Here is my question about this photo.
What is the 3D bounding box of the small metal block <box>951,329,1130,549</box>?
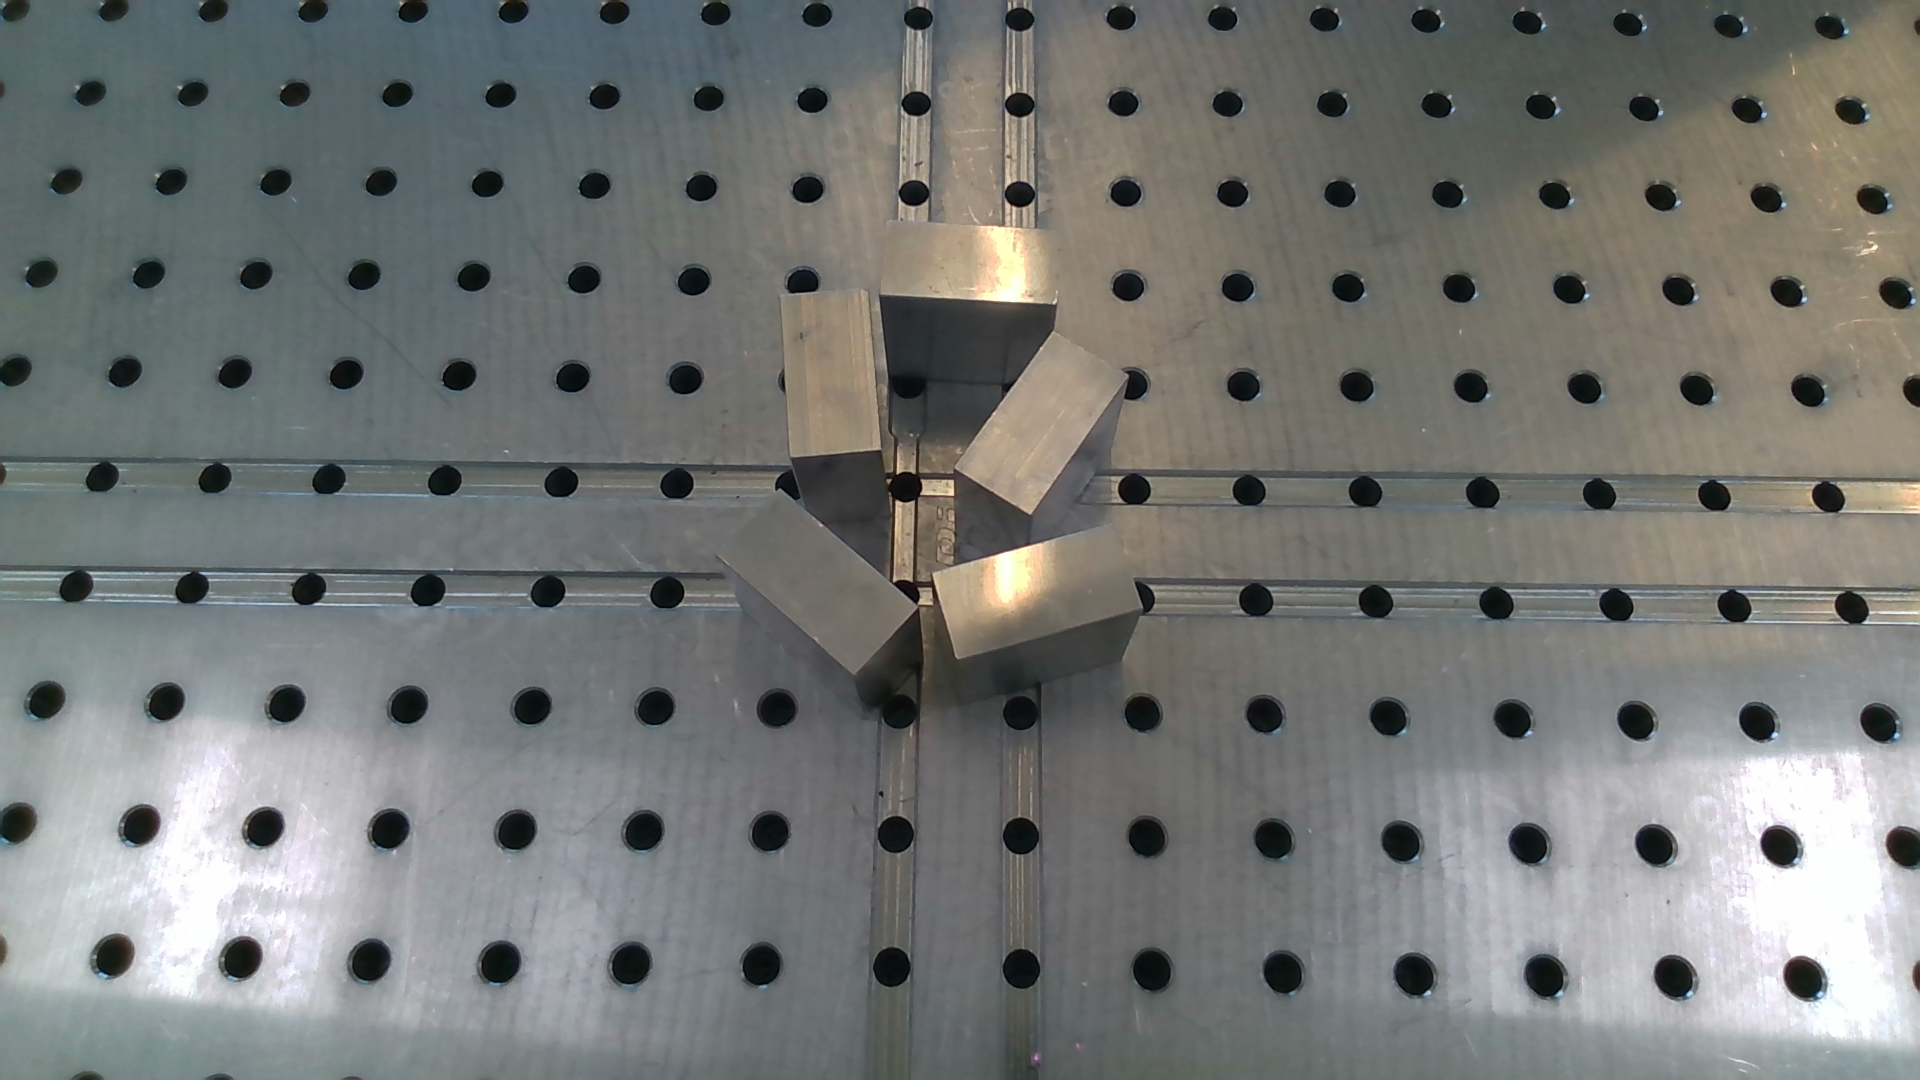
[{"bbox_3d":[0.022,-0.024,0.393,0.025,0.050,0.050,32,74,12],"label":"small metal block"}]

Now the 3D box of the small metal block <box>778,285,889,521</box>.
[{"bbox_3d":[-0.036,-0.038,0.398,0.025,0.050,0.050,-5,70,-2],"label":"small metal block"}]

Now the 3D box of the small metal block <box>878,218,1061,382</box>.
[{"bbox_3d":[0.003,-0.070,0.410,0.050,0.050,0.025,3,70,2],"label":"small metal block"}]

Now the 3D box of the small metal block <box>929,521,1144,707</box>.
[{"bbox_3d":[0.019,0.021,0.376,0.050,0.050,0.025,-15,71,-6],"label":"small metal block"}]

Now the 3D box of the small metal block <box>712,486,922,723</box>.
[{"bbox_3d":[-0.038,0.019,0.377,0.050,0.050,0.025,40,74,13],"label":"small metal block"}]
